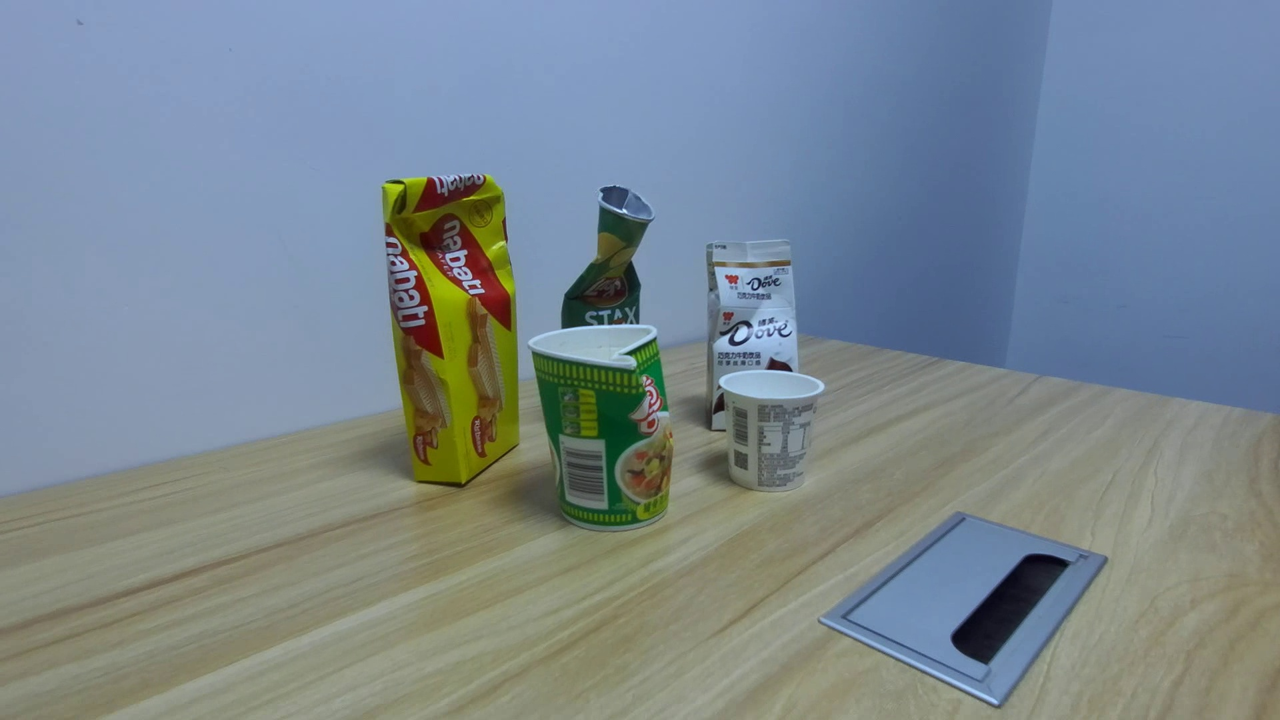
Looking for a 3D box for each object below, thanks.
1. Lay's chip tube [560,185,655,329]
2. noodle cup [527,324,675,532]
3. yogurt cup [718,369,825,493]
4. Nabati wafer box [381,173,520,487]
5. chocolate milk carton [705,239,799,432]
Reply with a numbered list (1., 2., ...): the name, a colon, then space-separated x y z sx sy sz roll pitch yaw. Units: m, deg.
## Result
1. Lay's chip tube: -0.025 -0.038 0.578 0.071 0.199 0.079 16 21 27
2. noodle cup: -0.019 0.040 0.434 0.086 0.109 0.094 8 17 30
3. yogurt cup: 0.088 0.048 0.482 0.072 0.068 0.072 0 15 0
4. Nabati wafer box: -0.127 -0.023 0.496 0.042 0.205 0.113 3 15 17
5. chocolate milk carton: 0.096 -0.023 0.595 0.084 0.155 0.073 1 15 1
